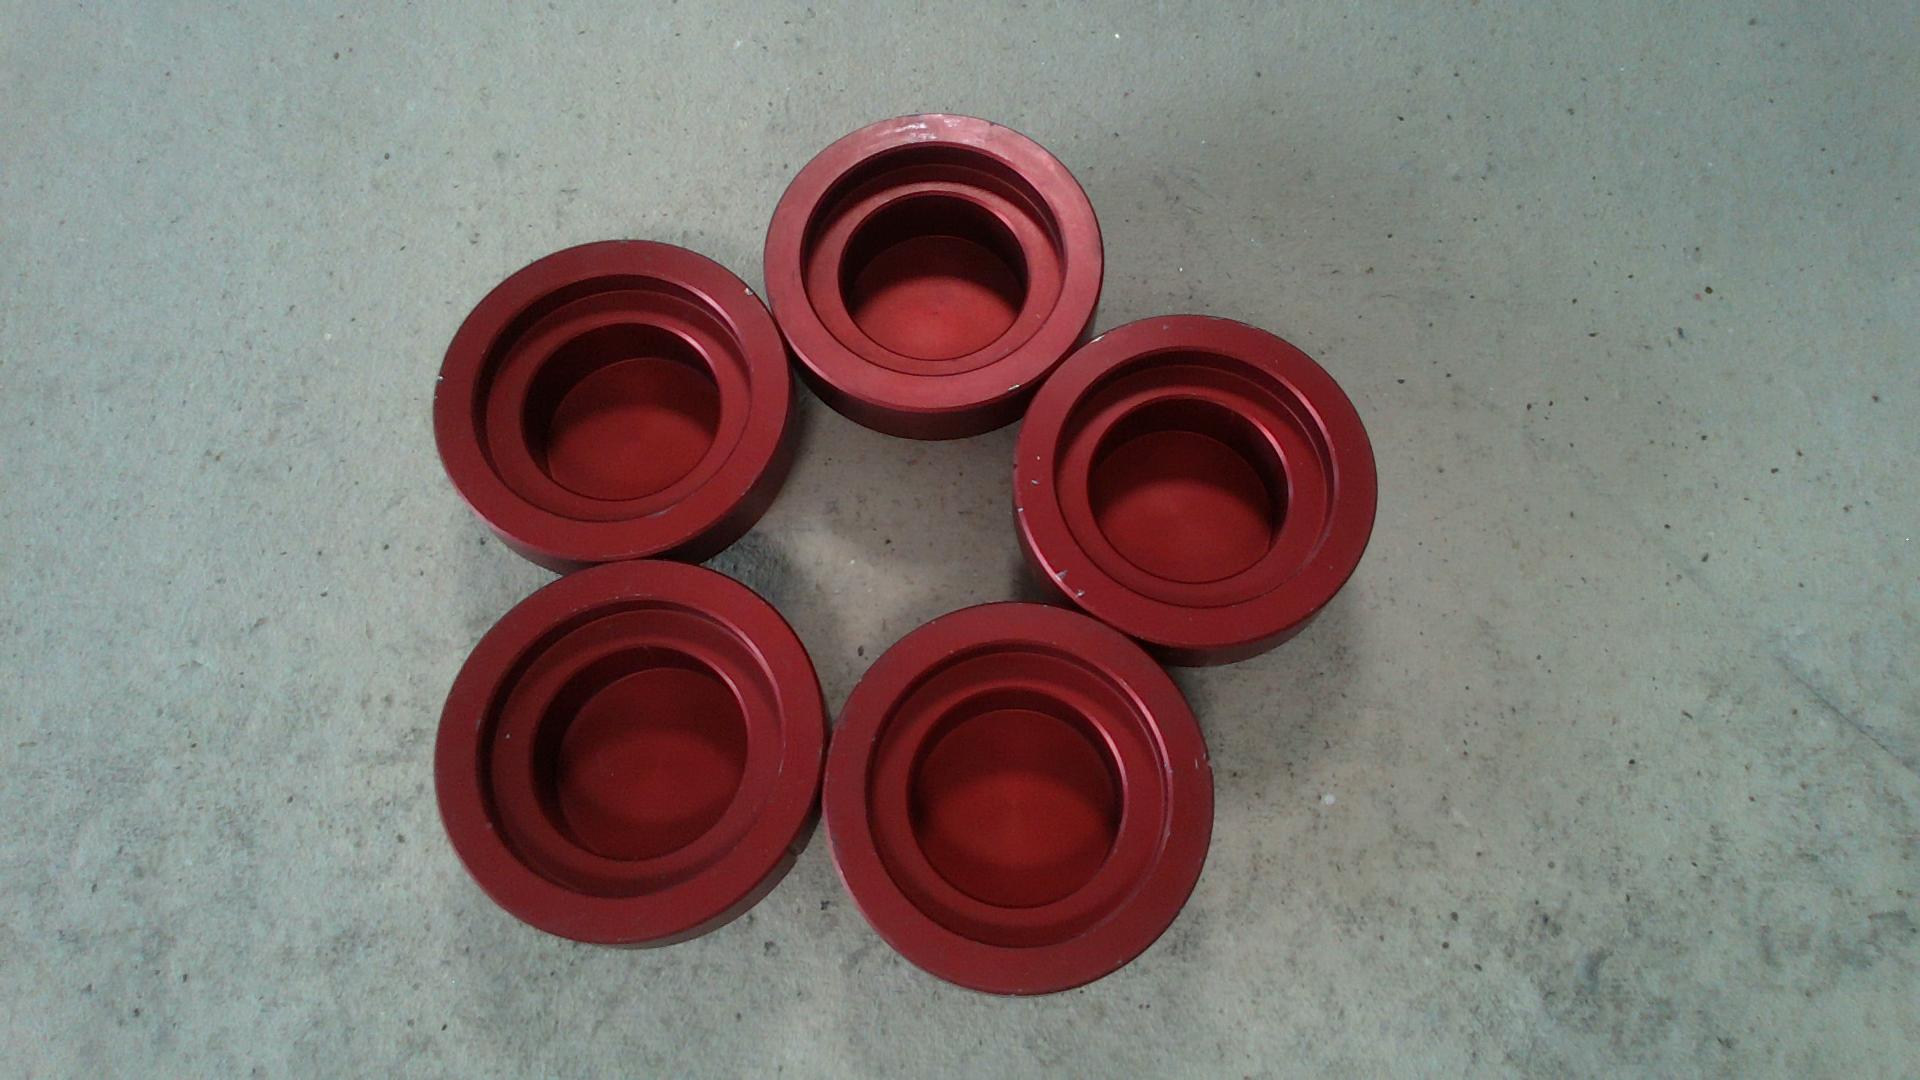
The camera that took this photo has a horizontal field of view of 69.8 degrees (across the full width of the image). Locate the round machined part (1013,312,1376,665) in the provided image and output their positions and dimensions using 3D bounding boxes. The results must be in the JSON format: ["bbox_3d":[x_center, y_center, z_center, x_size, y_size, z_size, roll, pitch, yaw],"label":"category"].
[{"bbox_3d":[0.063,-0.012,0.389,0.098,0.042,0.098,1,68,-1],"label":"round machined part"}]

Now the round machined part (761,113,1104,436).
[{"bbox_3d":[-0.008,-0.075,0.412,0.098,0.042,0.098,1,68,-1],"label":"round machined part"}]

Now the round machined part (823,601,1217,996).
[{"bbox_3d":[0.015,0.069,0.361,0.098,0.042,0.098,0,69,-1],"label":"round machined part"}]

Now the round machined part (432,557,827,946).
[{"bbox_3d":[-0.083,0.058,0.364,0.098,0.042,0.098,1,68,-1],"label":"round machined part"}]

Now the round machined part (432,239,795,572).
[{"bbox_3d":[-0.096,-0.034,0.398,0.098,0.042,0.098,0,68,0],"label":"round machined part"}]
